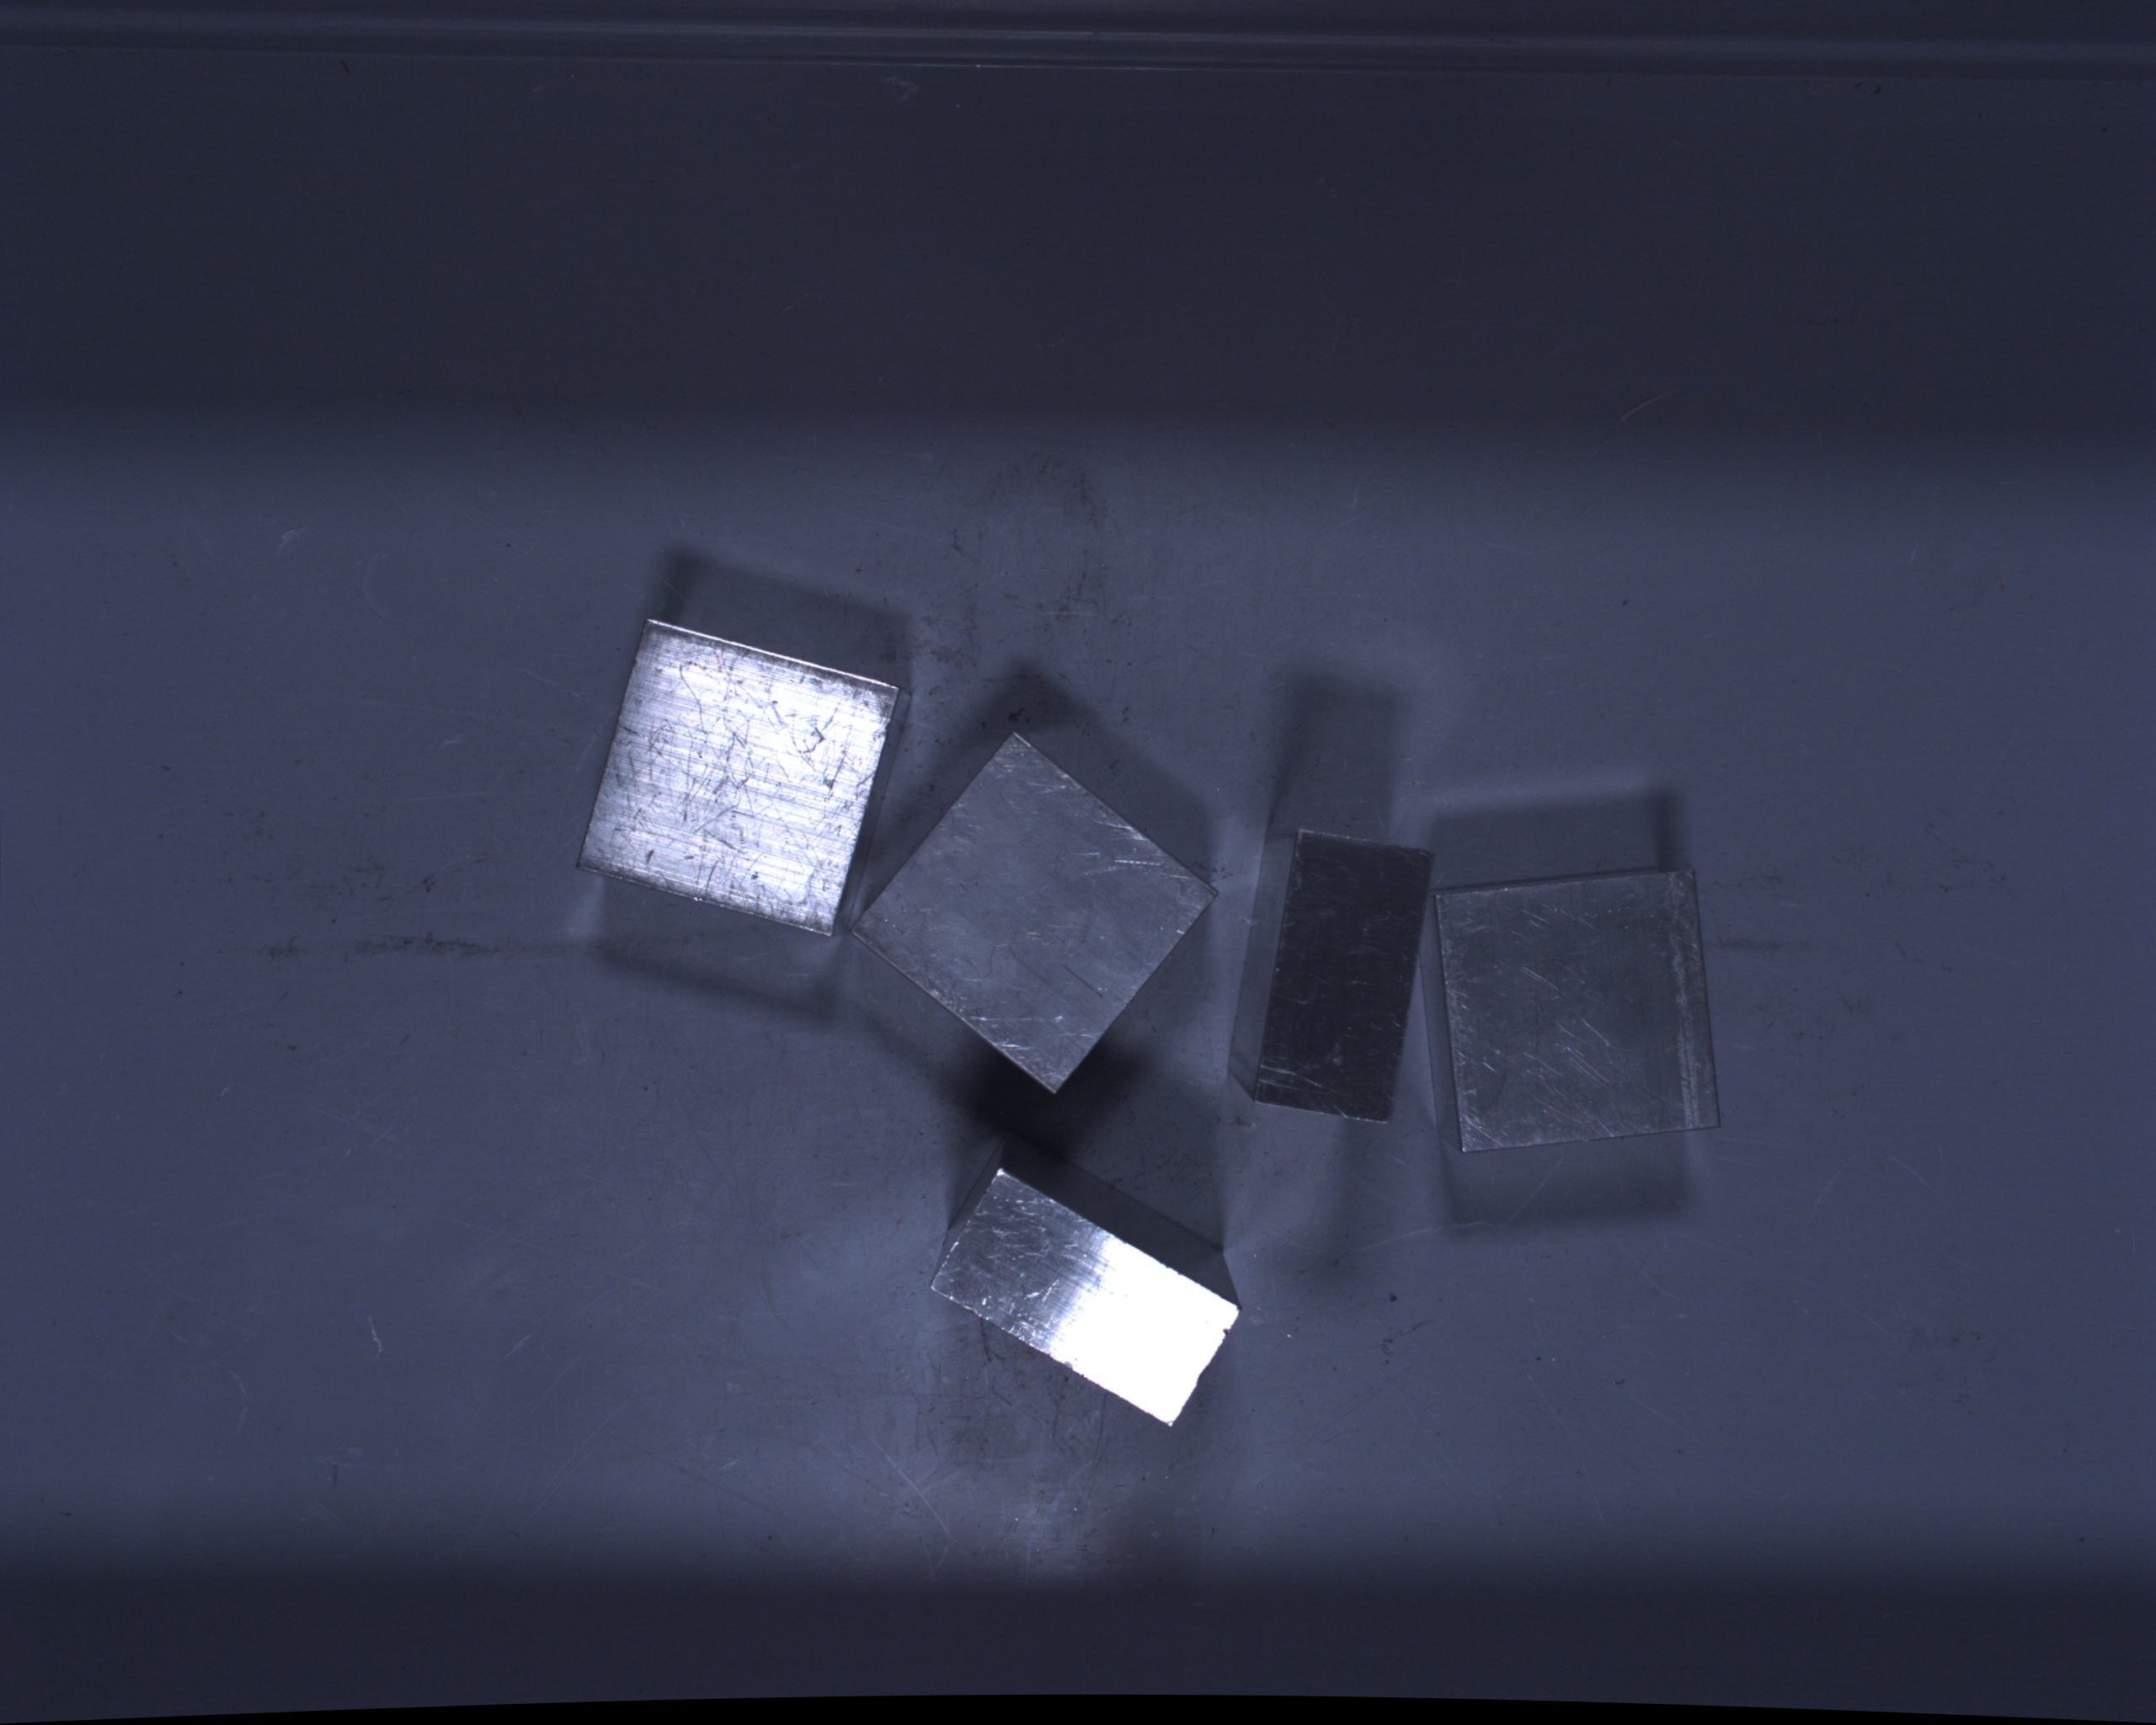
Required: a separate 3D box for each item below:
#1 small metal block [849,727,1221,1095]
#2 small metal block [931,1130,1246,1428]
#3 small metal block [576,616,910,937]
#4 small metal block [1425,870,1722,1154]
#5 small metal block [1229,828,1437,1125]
[{"bbox_3d":[-0.008,0.009,0.409,0.050,0.025,0.050,39,90,-1],"label":"small metal block"},{"bbox_3d":[0.002,0.077,0.397,0.050,0.050,0.025,30,91,-1],"label":"small metal block"},{"bbox_3d":[-0.064,-0.016,0.408,0.050,0.025,0.050,15,90,-1],"label":"small metal block"},{"bbox_3d":[0.096,0.028,0.410,0.050,0.025,0.050,-6,90,-1],"label":"small metal block"},{"bbox_3d":[0.047,0.020,0.398,0.025,0.050,0.050,10,90,-1],"label":"small metal block"}]
